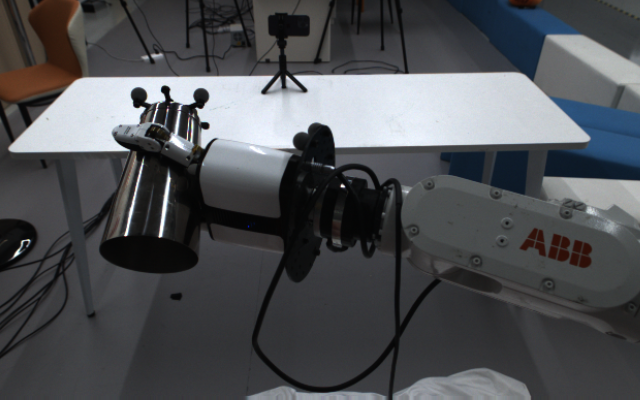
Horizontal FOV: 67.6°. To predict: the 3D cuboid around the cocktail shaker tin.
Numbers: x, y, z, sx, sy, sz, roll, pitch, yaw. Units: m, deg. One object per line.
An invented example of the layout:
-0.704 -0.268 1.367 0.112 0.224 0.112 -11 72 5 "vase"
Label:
-0.167 -0.018 0.508 0.093 0.093 0.170 0 59 -3 "cocktail shaker tin"
